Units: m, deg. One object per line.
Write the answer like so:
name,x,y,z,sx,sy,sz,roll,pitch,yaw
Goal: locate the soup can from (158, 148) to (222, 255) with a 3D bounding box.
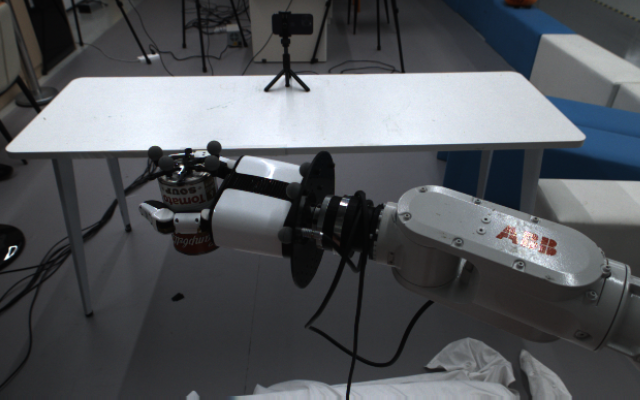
soup can,-0.153,0.008,0.590,0.067,0.101,0.067,-2,33,1
